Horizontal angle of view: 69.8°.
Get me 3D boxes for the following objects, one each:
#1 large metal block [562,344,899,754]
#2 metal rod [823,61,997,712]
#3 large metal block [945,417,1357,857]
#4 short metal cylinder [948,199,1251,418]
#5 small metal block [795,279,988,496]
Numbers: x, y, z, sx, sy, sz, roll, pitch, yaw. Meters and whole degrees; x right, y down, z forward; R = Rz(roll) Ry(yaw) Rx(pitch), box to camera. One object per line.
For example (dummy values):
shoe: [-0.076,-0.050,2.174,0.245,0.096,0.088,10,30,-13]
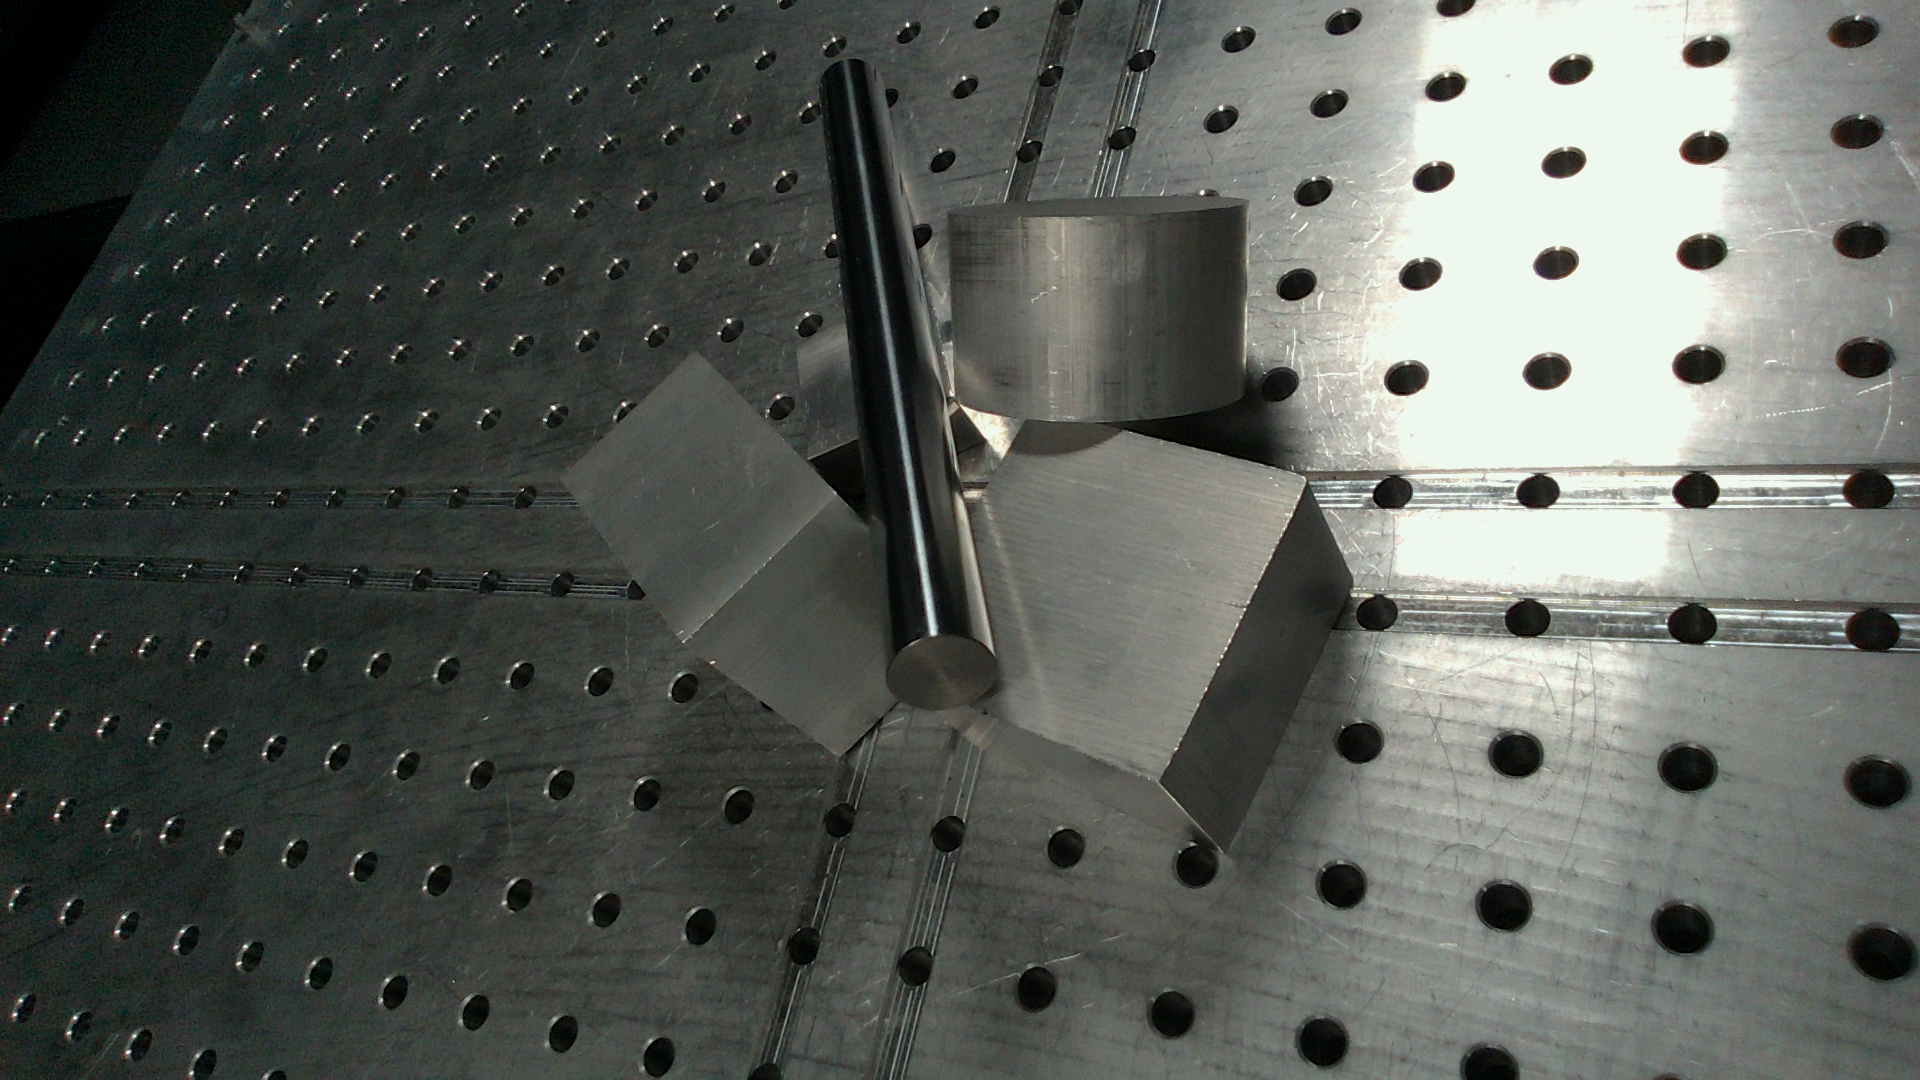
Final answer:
large metal block: [-0.053,0.003,0.387,0.050,0.080,0.080,-45,51,-2]
metal rod: [-0.022,-0.070,0.413,0.025,0.025,0.300,-25,41,13]
large metal block: [0.041,0.020,0.345,0.080,0.050,0.080,19,72,35]
short metal cylinder: [0.037,-0.066,0.373,0.080,0.080,0.050,9,110,32]
small metal block: [-0.023,-0.048,0.439,0.050,0.025,0.050,-22,53,15]
